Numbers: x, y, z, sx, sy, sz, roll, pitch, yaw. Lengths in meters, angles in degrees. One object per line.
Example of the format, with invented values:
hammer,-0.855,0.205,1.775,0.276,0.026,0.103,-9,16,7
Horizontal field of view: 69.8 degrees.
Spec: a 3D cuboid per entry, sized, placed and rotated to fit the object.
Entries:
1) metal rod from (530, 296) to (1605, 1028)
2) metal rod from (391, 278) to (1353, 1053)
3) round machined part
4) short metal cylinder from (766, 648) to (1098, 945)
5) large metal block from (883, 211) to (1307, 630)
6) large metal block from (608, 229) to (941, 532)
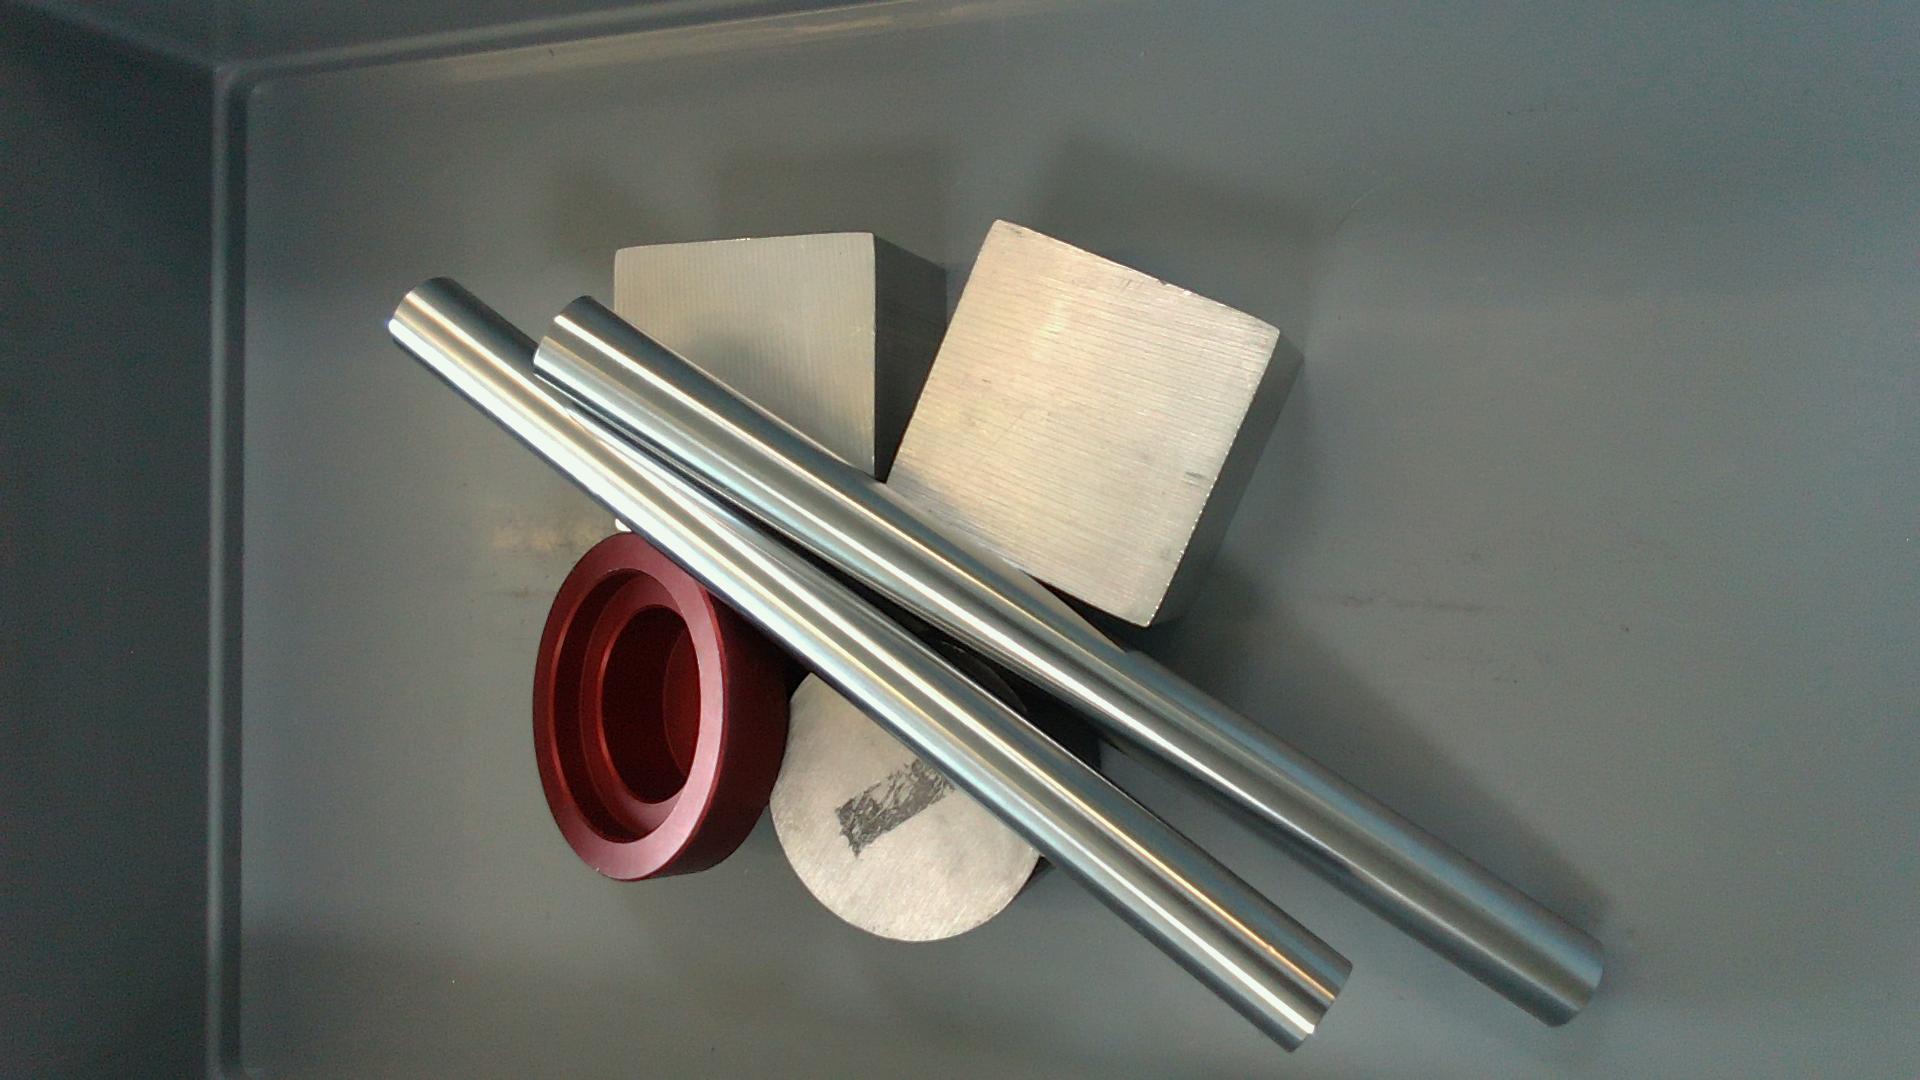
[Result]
metal rod,0.024,0.029,0.346,0.300,0.025,0.025,33,101,2
metal rod,-0.035,0.021,0.352,0.299,0.025,0.025,36,102,15
round machined part,-0.082,0.048,0.403,0.098,0.042,0.098,-4,84,43
short metal cylinder,-0.006,0.066,0.383,0.080,0.050,0.080,0,90,20
large metal block,0.036,-0.031,0.367,0.080,0.050,0.080,26,99,18
large metal block,-0.052,-0.042,0.397,0.080,0.050,0.080,1,90,20
